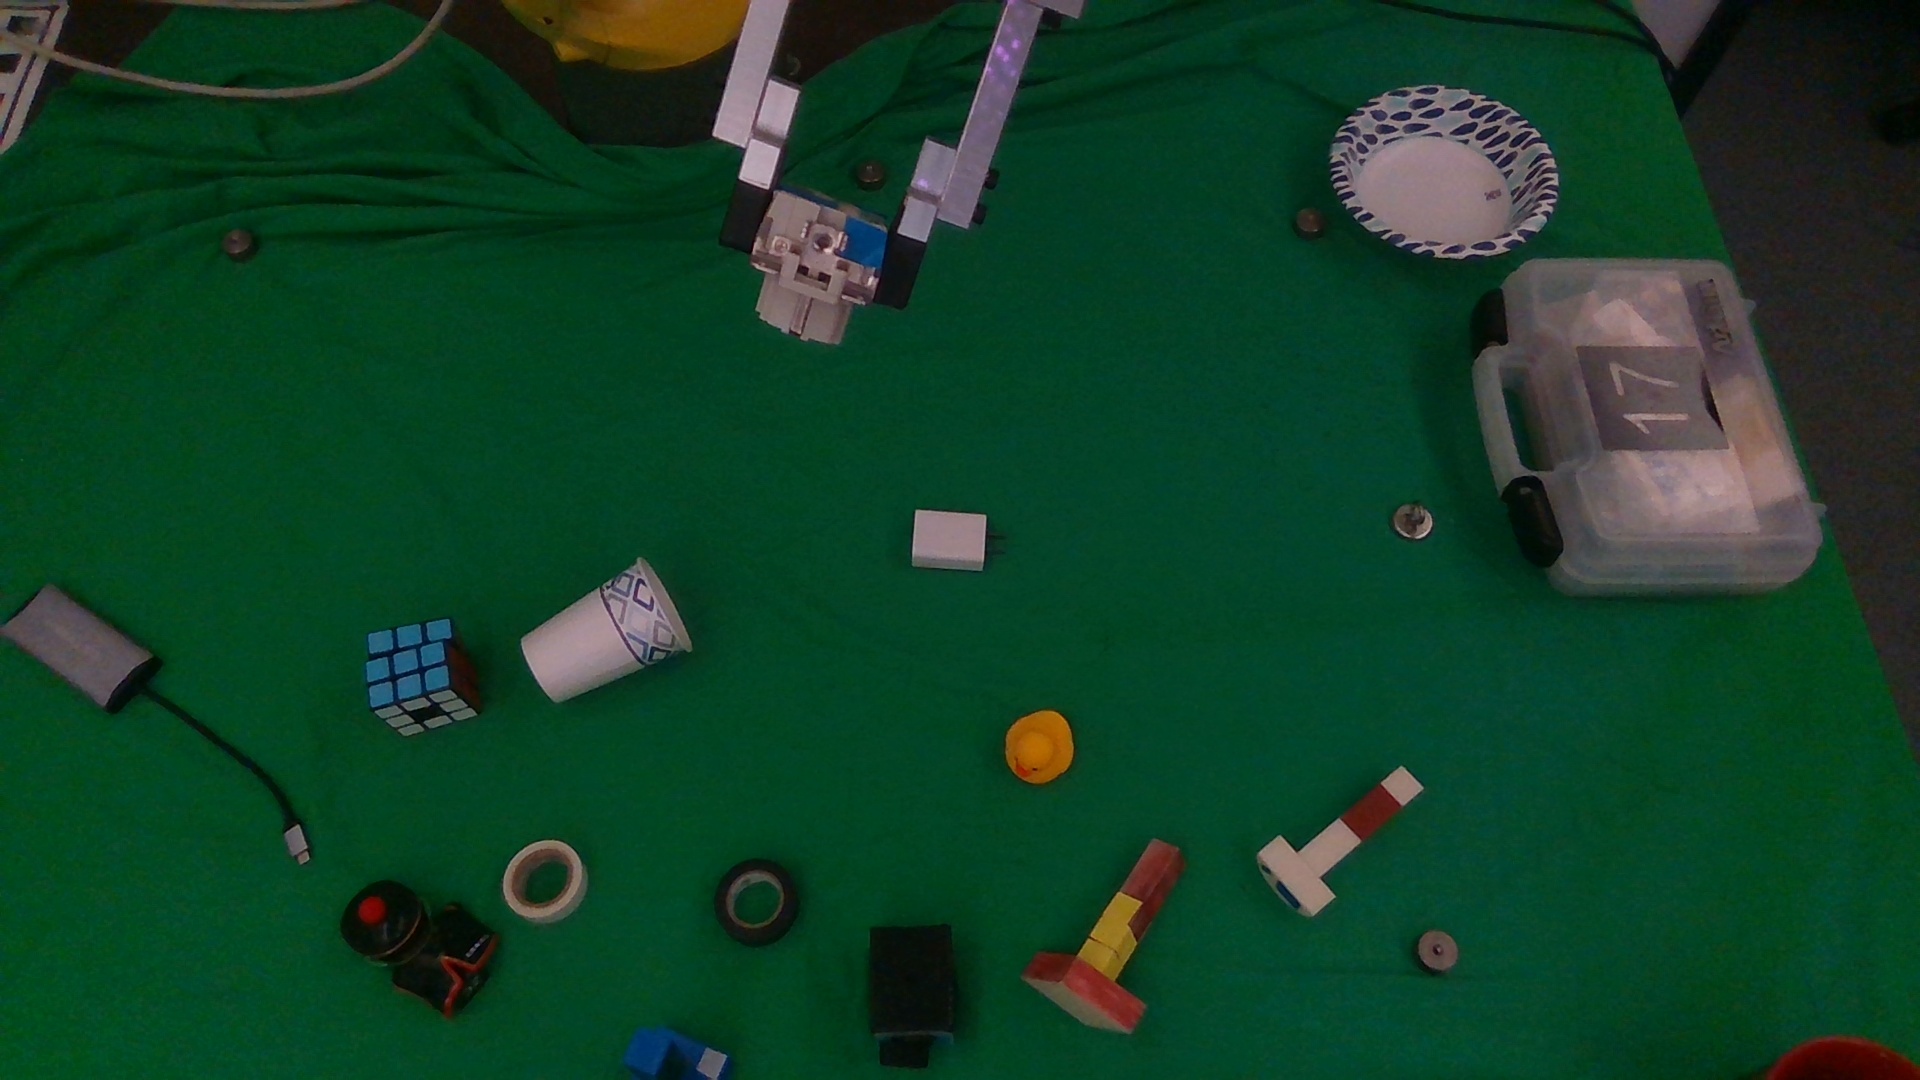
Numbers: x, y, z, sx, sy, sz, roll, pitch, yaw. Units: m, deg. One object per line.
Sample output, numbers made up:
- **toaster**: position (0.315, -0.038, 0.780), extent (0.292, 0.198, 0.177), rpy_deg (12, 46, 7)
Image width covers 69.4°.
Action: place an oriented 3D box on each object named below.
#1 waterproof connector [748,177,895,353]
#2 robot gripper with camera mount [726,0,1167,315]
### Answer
- **waterproof connector**: position (-0.040, -0.075, 0.378), extent (0.035, 0.065, 0.037), rpy_deg (20, 107, -12)
- **robot gripper with camera mount**: position (-0.006, -0.114, 0.279), extent (0.119, 0.193, 0.159), rpy_deg (19, 107, -8)
